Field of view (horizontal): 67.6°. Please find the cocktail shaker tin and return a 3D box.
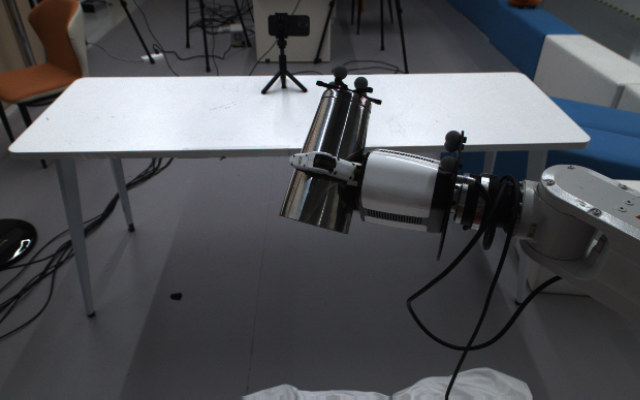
[{"bbox_3d":[0.014,-0.050,0.622,0.093,0.170,0.093,15,-4,1],"label":"cocktail shaker tin"}]
